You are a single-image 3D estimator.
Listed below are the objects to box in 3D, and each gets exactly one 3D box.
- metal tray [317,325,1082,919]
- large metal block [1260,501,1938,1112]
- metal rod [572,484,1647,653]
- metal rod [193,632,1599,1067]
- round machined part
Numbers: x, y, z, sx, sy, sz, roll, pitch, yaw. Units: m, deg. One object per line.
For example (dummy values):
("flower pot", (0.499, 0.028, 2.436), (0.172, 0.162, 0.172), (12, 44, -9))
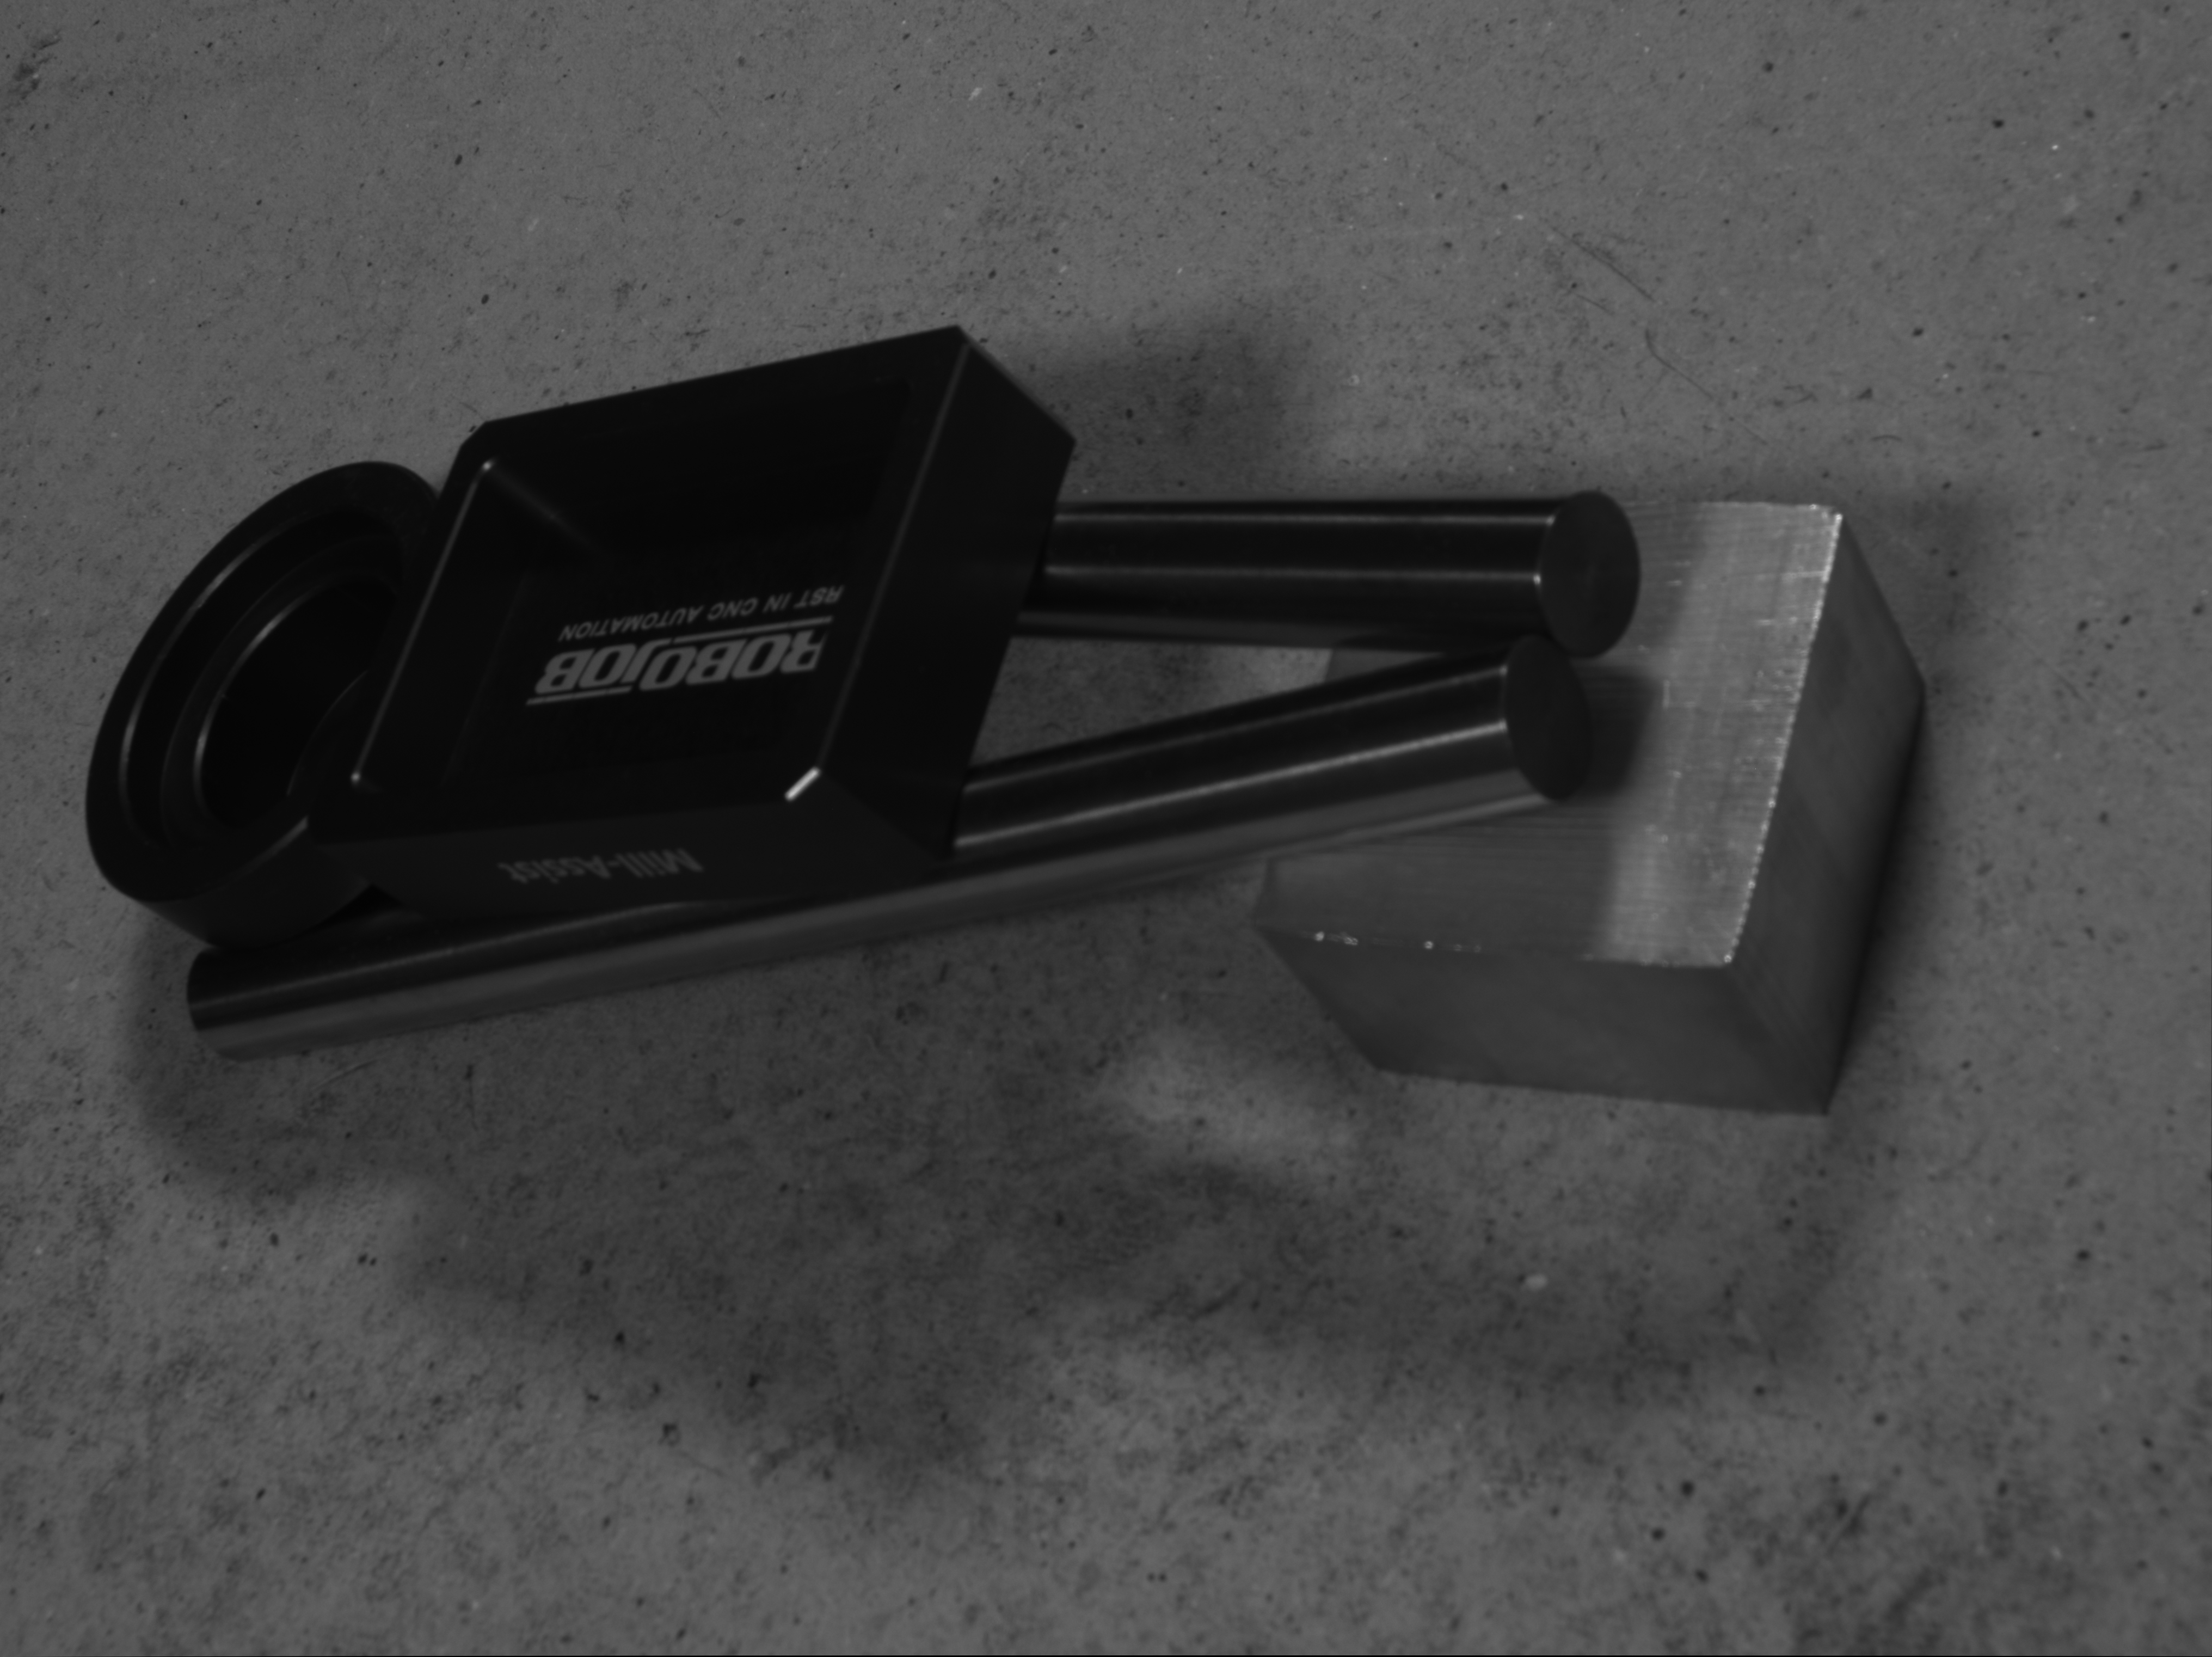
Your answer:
("metal tray", (-0.072, -0.033, 0.633), (0.130, 0.030, 0.090), (-5, 58, 41))
("large metal block", (0.080, -0.005, 0.586), (0.080, 0.050, 0.080), (4, 63, 30))
("metal rod", (-0.033, -0.047, 0.649), (0.299, 0.025, 0.025), (4, 63, 45))
("metal rod", (-0.051, 0.009, 0.625), (0.299, 0.025, 0.025), (-12, 55, 37))
("round machined part", (-0.149, -0.019, 0.719), (0.098, 0.042, 0.098), (-22, 49, 28))
